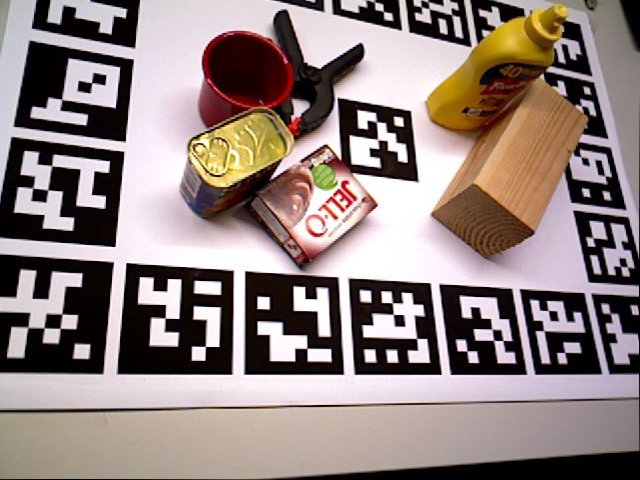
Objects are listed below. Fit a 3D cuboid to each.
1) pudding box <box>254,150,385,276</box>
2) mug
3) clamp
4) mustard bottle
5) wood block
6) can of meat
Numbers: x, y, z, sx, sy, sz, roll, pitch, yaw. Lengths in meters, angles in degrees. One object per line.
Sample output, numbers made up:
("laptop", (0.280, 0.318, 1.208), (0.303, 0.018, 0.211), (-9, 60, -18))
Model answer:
("pudding box", (0.000, -0.030, 0.571), (0.111, 0.039, 0.090), (-39, 88, -29))
("mug", (-0.087, -0.159, 0.584), (0.093, 0.083, 0.115), (26, 66, -11))
("clamp", (-0.014, -0.188, 0.627), (0.121, 0.037, 0.163), (23, 67, -14))
("mustard bottle", (0.214, -0.201, 0.624), (0.095, 0.195, 0.058), (0, 71, -21))
("wood block", (0.238, -0.081, 0.654), (0.090, 0.093, 0.202), (38, 60, -2))
("can of meat", (-0.082, -0.068, 0.521), (0.100, 0.085, 0.058), (-28, 84, -27))
